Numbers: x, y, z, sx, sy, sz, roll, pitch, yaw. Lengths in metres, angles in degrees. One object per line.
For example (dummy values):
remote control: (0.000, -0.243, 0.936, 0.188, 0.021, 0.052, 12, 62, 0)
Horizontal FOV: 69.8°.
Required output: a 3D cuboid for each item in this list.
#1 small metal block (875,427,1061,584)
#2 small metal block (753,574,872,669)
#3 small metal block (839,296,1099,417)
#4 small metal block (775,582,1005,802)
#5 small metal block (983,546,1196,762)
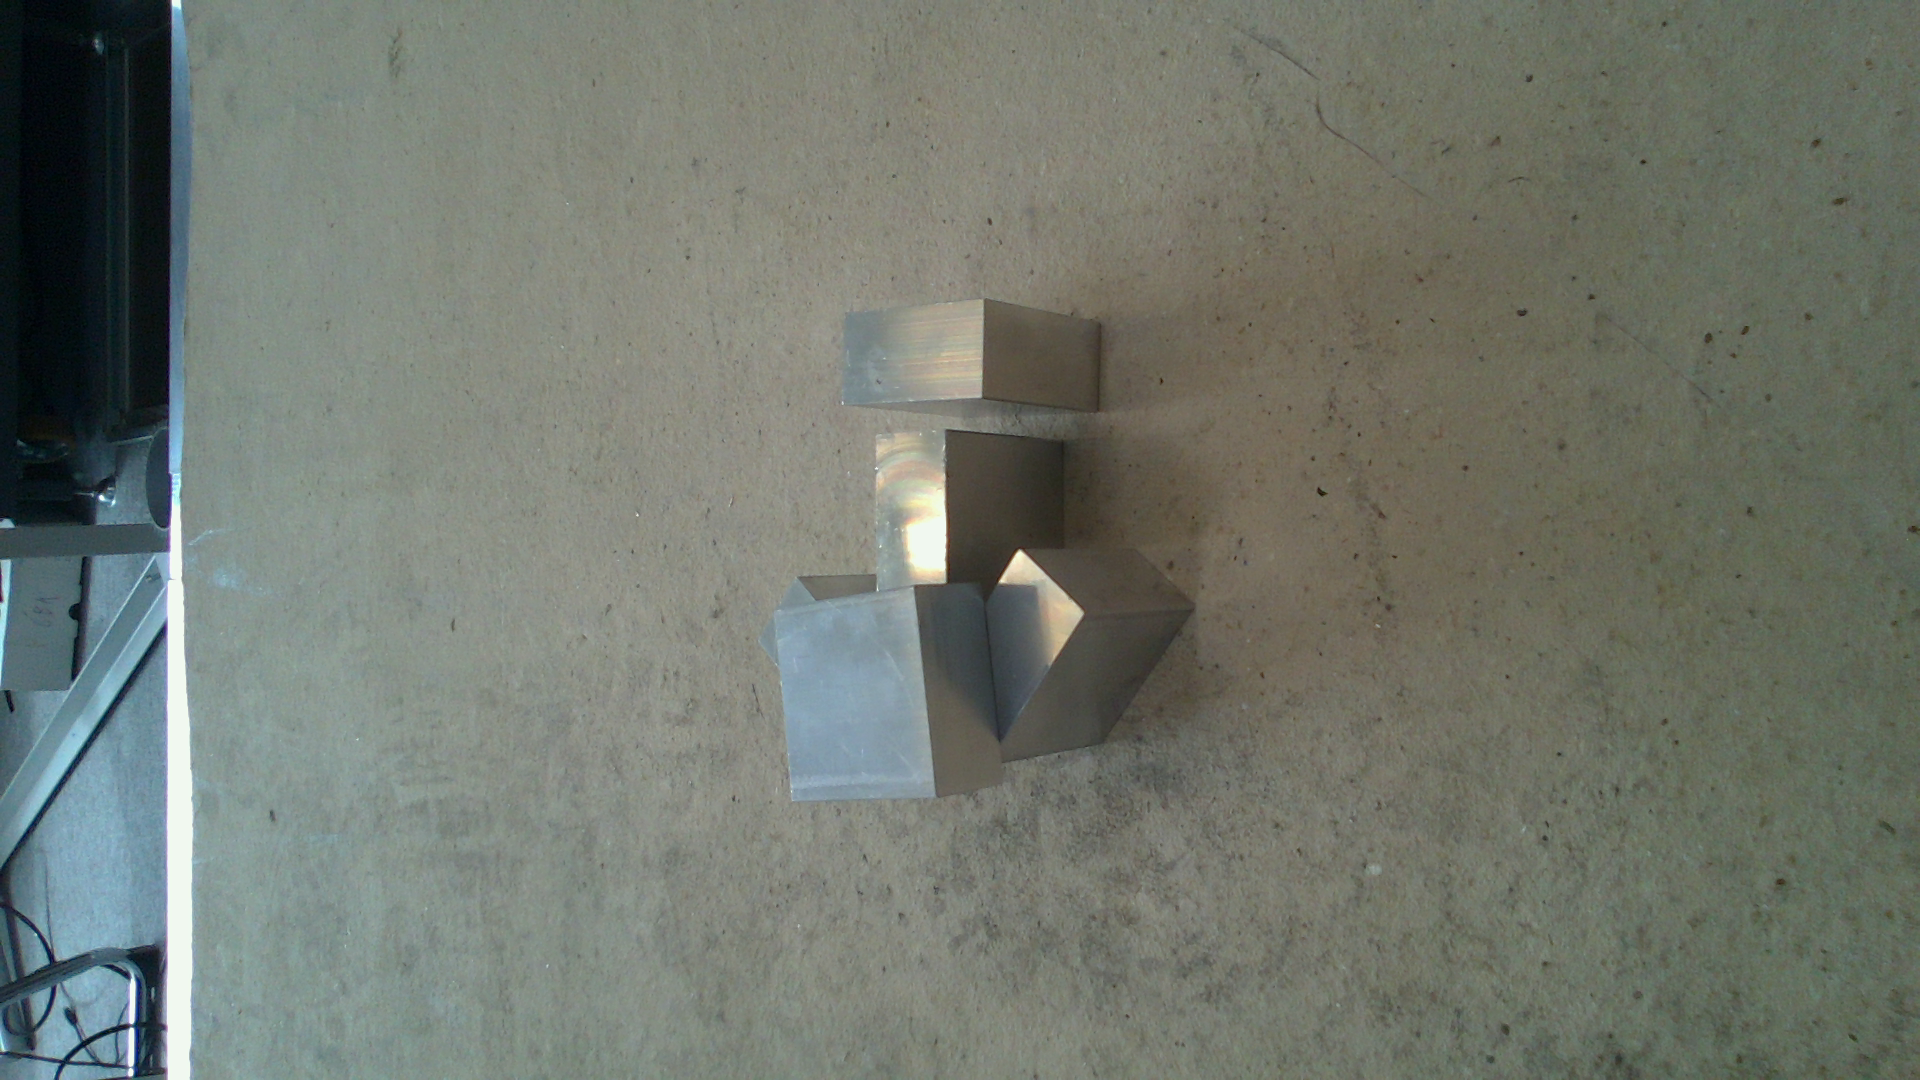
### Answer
small metal block: (0.003, -0.003, 0.377, 0.025, 0.050, 0.050, -1, 89, 39)
small metal block: (-0.023, 0.036, 0.397, 0.050, 0.050, 0.025, 47, 118, 29)
small metal block: (0.003, -0.049, 0.376, 0.050, 0.050, 0.025, 2, 91, 40)
small metal block: (-0.018, 0.039, 0.346, 0.050, 0.025, 0.050, -11, 83, 40)
small metal block: (0.027, 0.029, 0.357, 0.025, 0.050, 0.050, 45, 117, 31)
